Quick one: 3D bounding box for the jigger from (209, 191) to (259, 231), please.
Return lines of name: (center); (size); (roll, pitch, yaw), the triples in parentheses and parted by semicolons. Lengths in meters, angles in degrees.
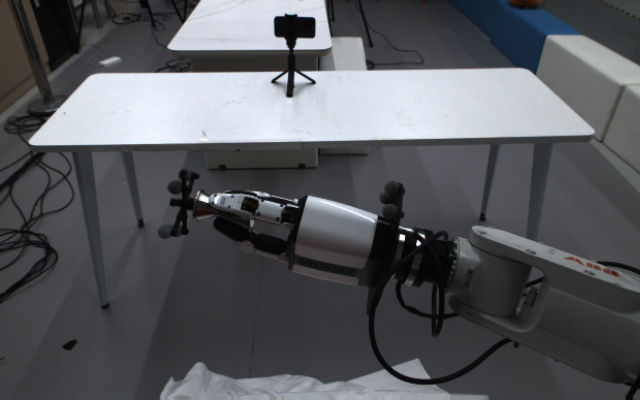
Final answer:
jigger: (-0.105, 0.010, 0.578); (0.071, 0.043, 0.043); (9, 35, 2)
